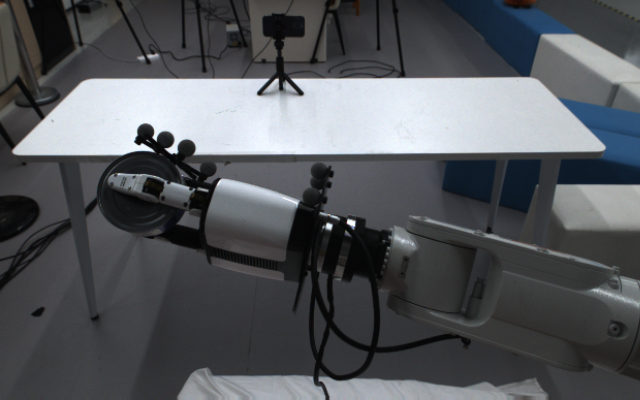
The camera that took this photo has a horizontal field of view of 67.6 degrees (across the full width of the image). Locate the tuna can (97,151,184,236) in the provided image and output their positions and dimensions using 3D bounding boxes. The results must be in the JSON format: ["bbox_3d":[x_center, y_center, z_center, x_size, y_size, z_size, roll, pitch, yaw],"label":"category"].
[{"bbox_3d":[-0.181,-0.001,0.504,0.085,0.034,0.085,1,76,-4],"label":"tuna can"}]
